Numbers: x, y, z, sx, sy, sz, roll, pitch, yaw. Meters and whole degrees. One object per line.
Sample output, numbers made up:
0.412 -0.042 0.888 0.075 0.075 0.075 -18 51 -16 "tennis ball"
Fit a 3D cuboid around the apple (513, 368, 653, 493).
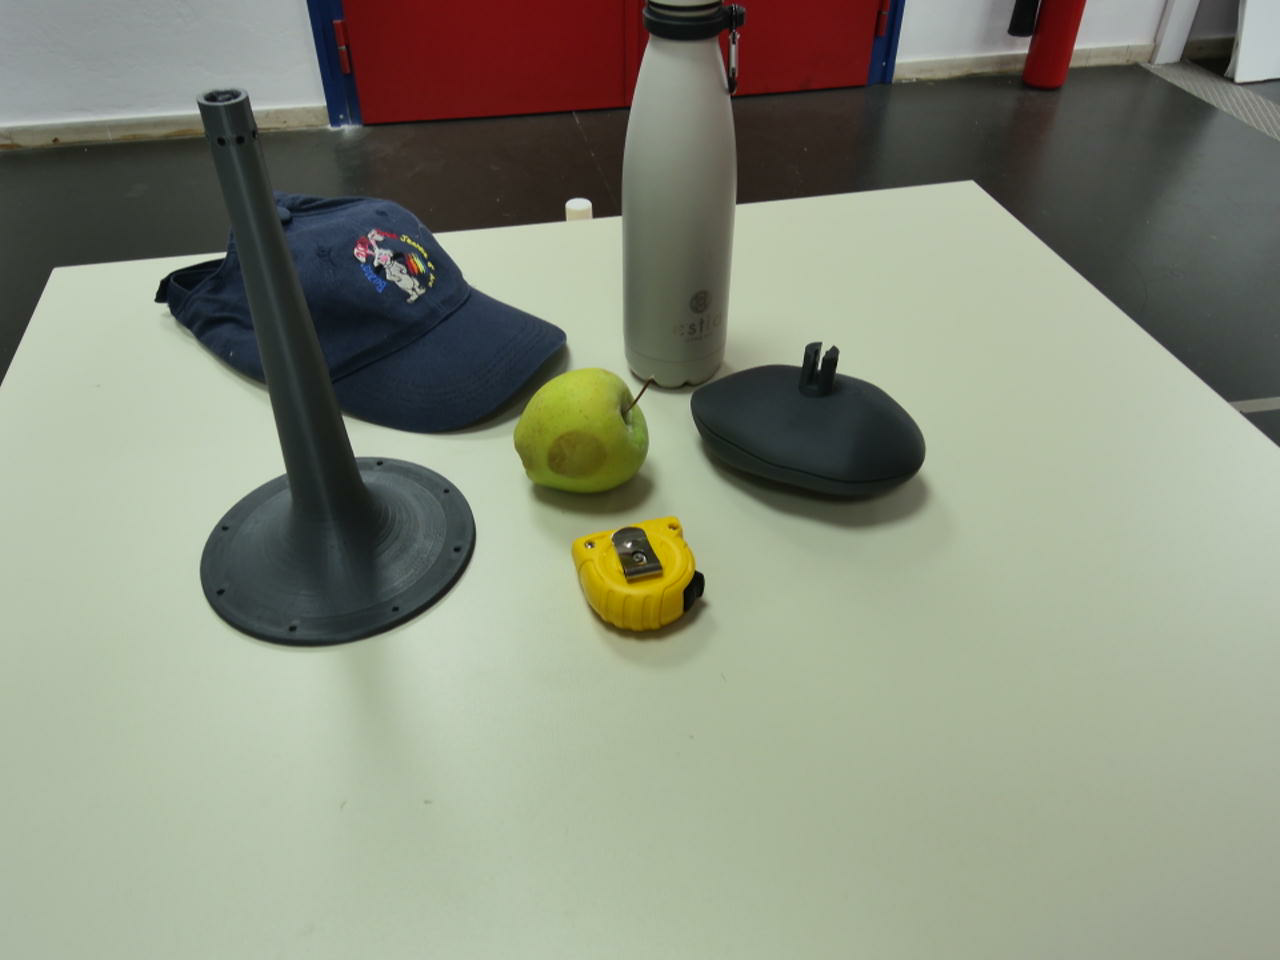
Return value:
-0.033 -0.030 0.590 0.077 0.075 0.072 22 43 24 "apple"
